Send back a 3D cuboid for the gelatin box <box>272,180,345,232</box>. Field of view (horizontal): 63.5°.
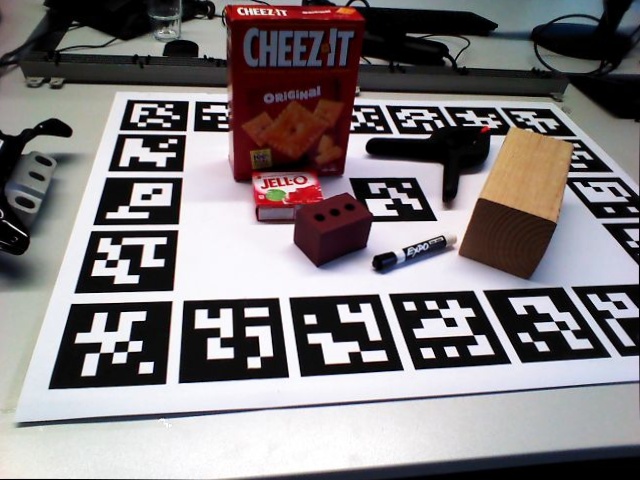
[{"bbox_3d":[-0.015,-0.046,0.667,0.089,0.030,0.073,-2,45,-10],"label":"gelatin box"}]

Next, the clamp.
[{"bbox_3d":[0.222,-0.127,0.777,0.201,0.037,0.165,-26,52,-30],"label":"clamp"}]

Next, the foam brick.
[{"bbox_3d":[0.038,-0.002,0.605,0.078,0.051,0.053,-20,51,-26],"label":"foam brick"}]

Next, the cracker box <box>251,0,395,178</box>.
[{"bbox_3d":[-0.006,-0.187,0.674,0.164,0.214,0.072,-3,42,-13],"label":"cracker box"}]

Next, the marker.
[{"bbox_3d":[0.129,0.027,0.607,0.120,0.020,0.019,-16,49,-23],"label":"marker"}]

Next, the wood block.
[{"bbox_3d":[0.283,-0.044,0.659,0.090,0.091,0.204,21,41,18],"label":"wood block"}]
